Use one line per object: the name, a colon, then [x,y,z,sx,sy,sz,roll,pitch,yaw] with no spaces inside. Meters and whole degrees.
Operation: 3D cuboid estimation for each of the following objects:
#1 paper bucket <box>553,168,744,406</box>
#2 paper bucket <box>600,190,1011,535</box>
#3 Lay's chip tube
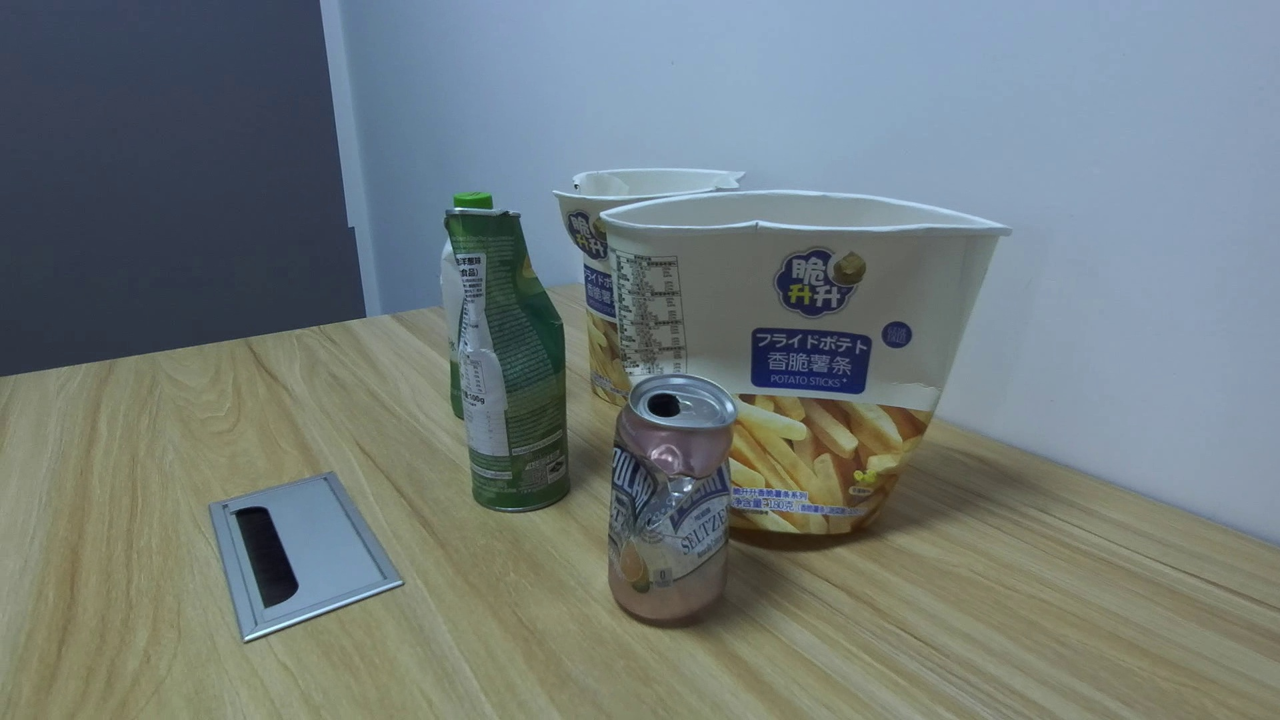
paper bucket: [0.019,-0.069,0.650,0.146,0.197,0.202,0,20,6]
paper bucket: [0.096,-0.003,0.458,0.219,0.199,0.147,-8,23,-21]
Lay's chip tube: [-0.091,-0.002,0.478,0.070,0.199,0.079,8,19,44]
